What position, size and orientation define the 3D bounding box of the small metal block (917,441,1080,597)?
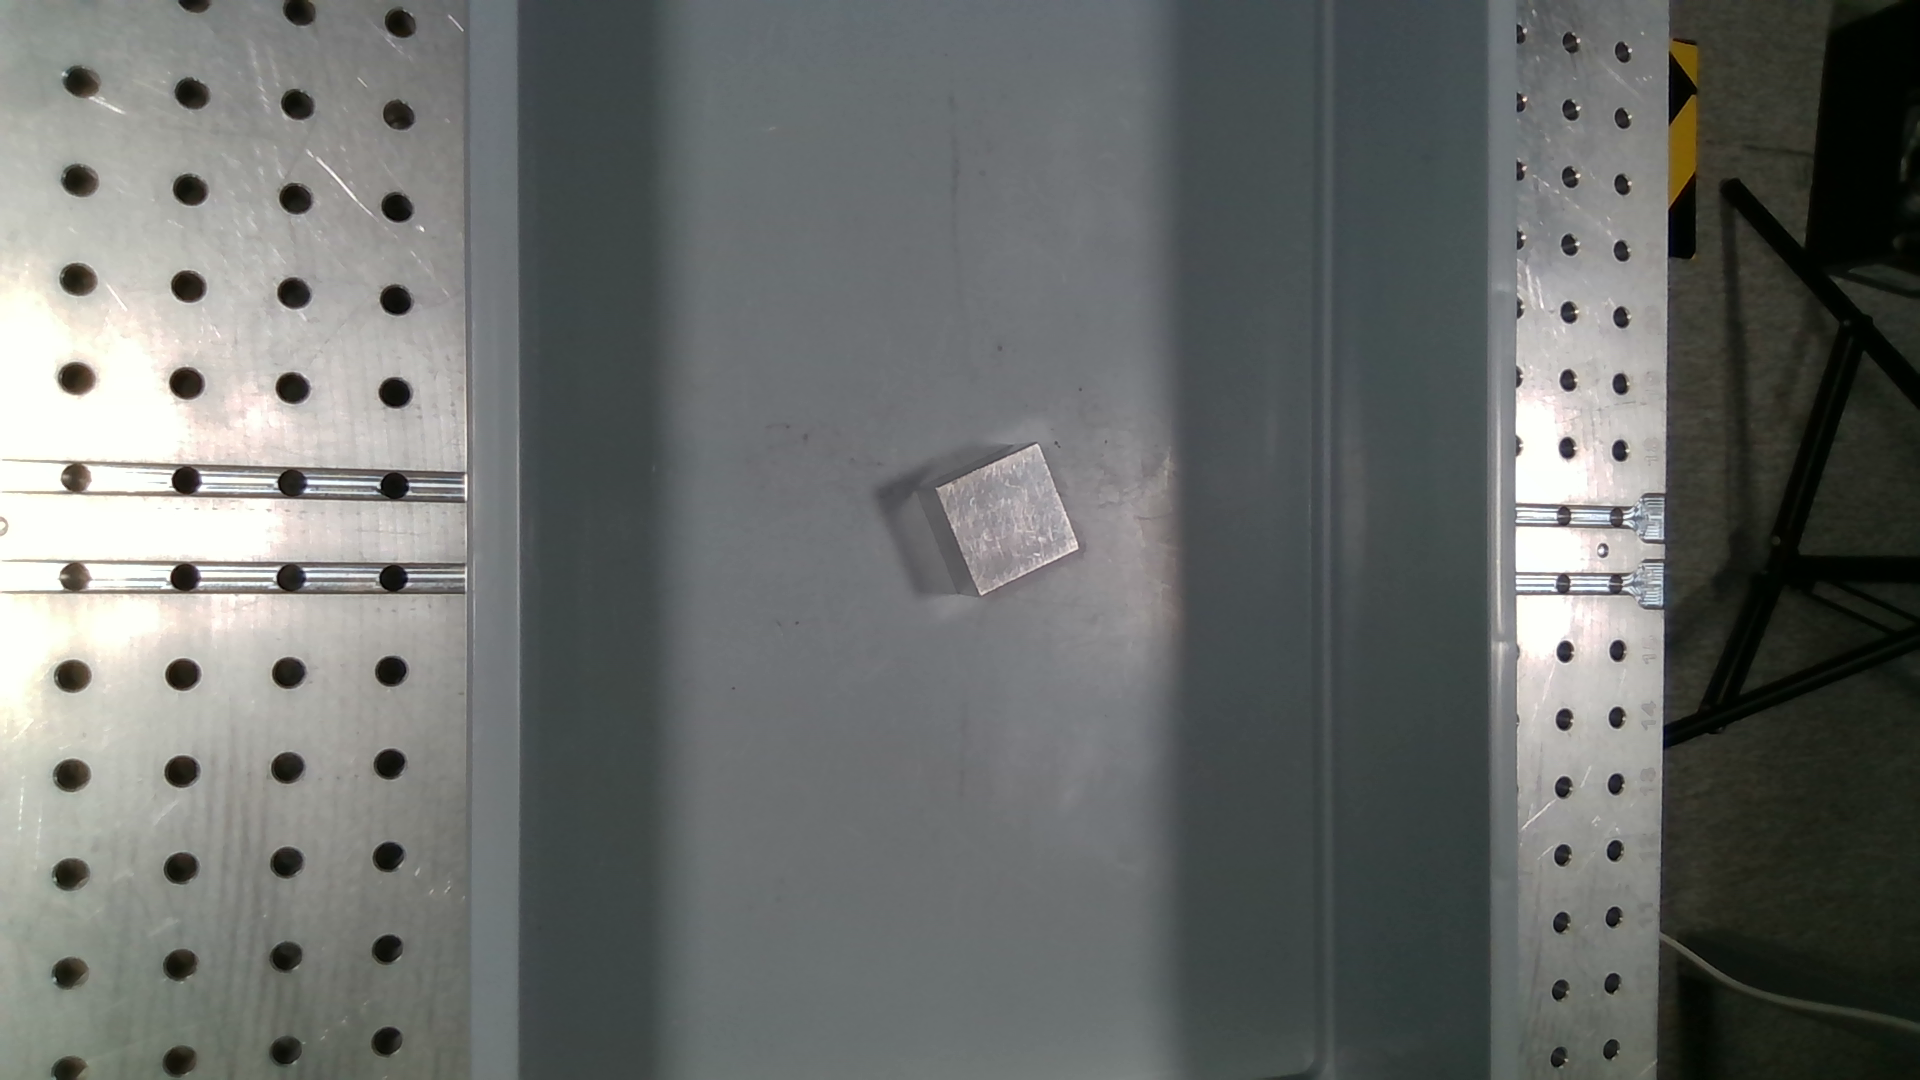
[{"bbox_3d":[0.016,-0.009,0.589,0.050,0.025,0.050,-25,99,-18],"label":"small metal block"}]
